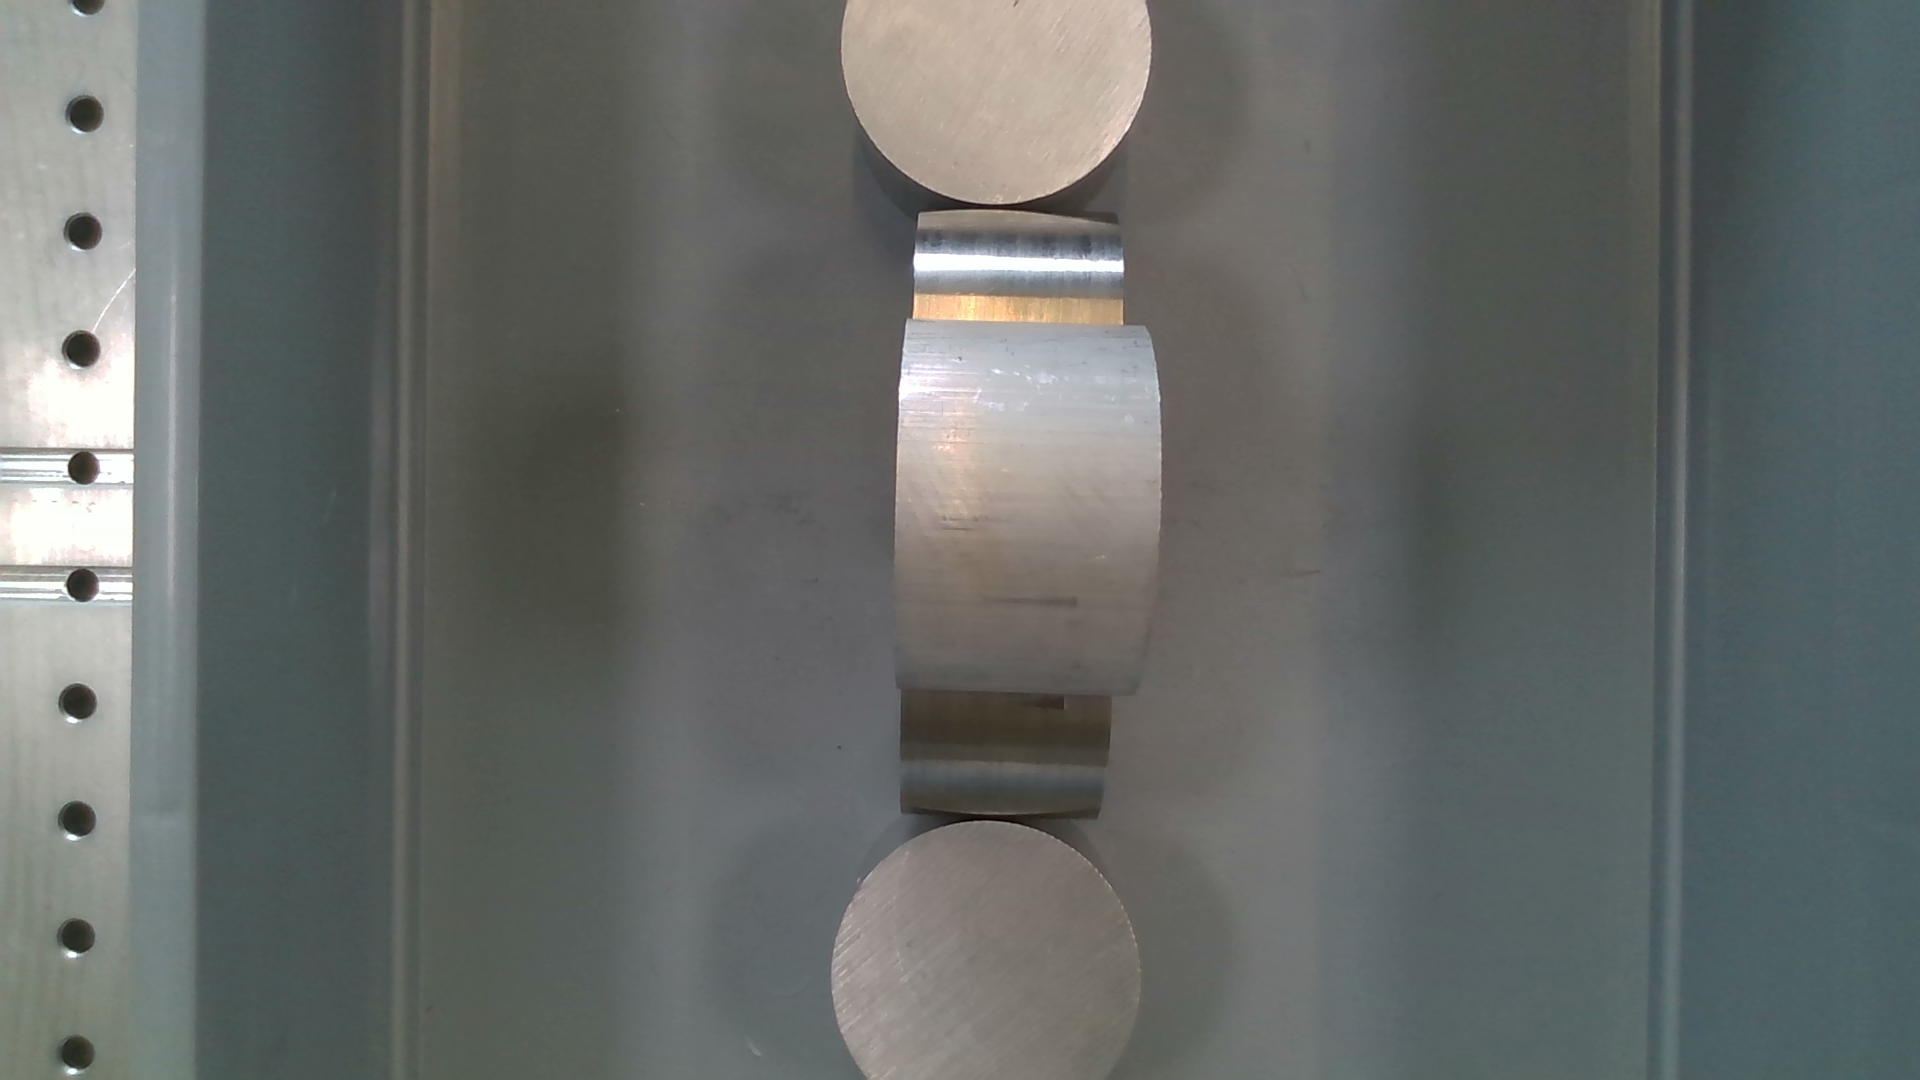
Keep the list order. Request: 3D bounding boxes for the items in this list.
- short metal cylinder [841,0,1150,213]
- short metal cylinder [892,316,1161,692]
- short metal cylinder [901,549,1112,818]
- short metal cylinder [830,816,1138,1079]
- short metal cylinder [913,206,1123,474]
[{"bbox_3d":[0.009,-0.128,0.381,0.080,0.050,0.080,0,90,0],"label":"short metal cylinder"},{"bbox_3d":[0.012,-0.007,0.298,0.050,0.080,0.080,2,90,0],"label":"short metal cylinder"},{"bbox_3d":[0.011,0.033,0.367,0.050,0.080,0.080,2,90,0],"label":"short metal cylinder"},{"bbox_3d":[0.006,0.112,0.382,0.080,0.050,0.080,0,90,0],"label":"short metal cylinder"},{"bbox_3d":[0.013,-0.047,0.366,0.050,0.080,0.080,2,90,0],"label":"short metal cylinder"}]
